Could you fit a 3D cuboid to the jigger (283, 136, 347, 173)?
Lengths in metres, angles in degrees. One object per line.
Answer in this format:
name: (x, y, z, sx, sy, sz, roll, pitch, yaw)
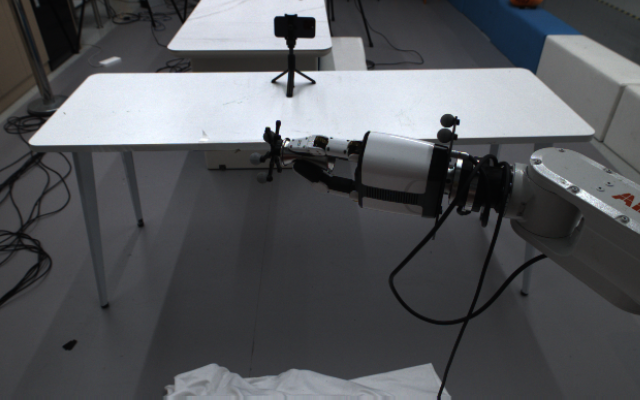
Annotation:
jigger: (-0.010, -0.067, 0.665, 0.071, 0.043, 0.043, 8, 35, 15)
